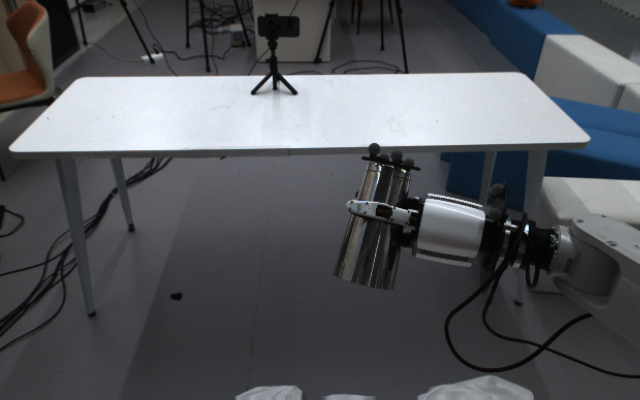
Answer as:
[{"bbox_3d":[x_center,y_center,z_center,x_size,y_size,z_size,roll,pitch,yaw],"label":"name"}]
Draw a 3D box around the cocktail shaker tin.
[{"bbox_3d":[0.084,0.036,0.710,0.093,0.170,0.093,13,-2,0],"label":"cocktail shaker tin"}]
